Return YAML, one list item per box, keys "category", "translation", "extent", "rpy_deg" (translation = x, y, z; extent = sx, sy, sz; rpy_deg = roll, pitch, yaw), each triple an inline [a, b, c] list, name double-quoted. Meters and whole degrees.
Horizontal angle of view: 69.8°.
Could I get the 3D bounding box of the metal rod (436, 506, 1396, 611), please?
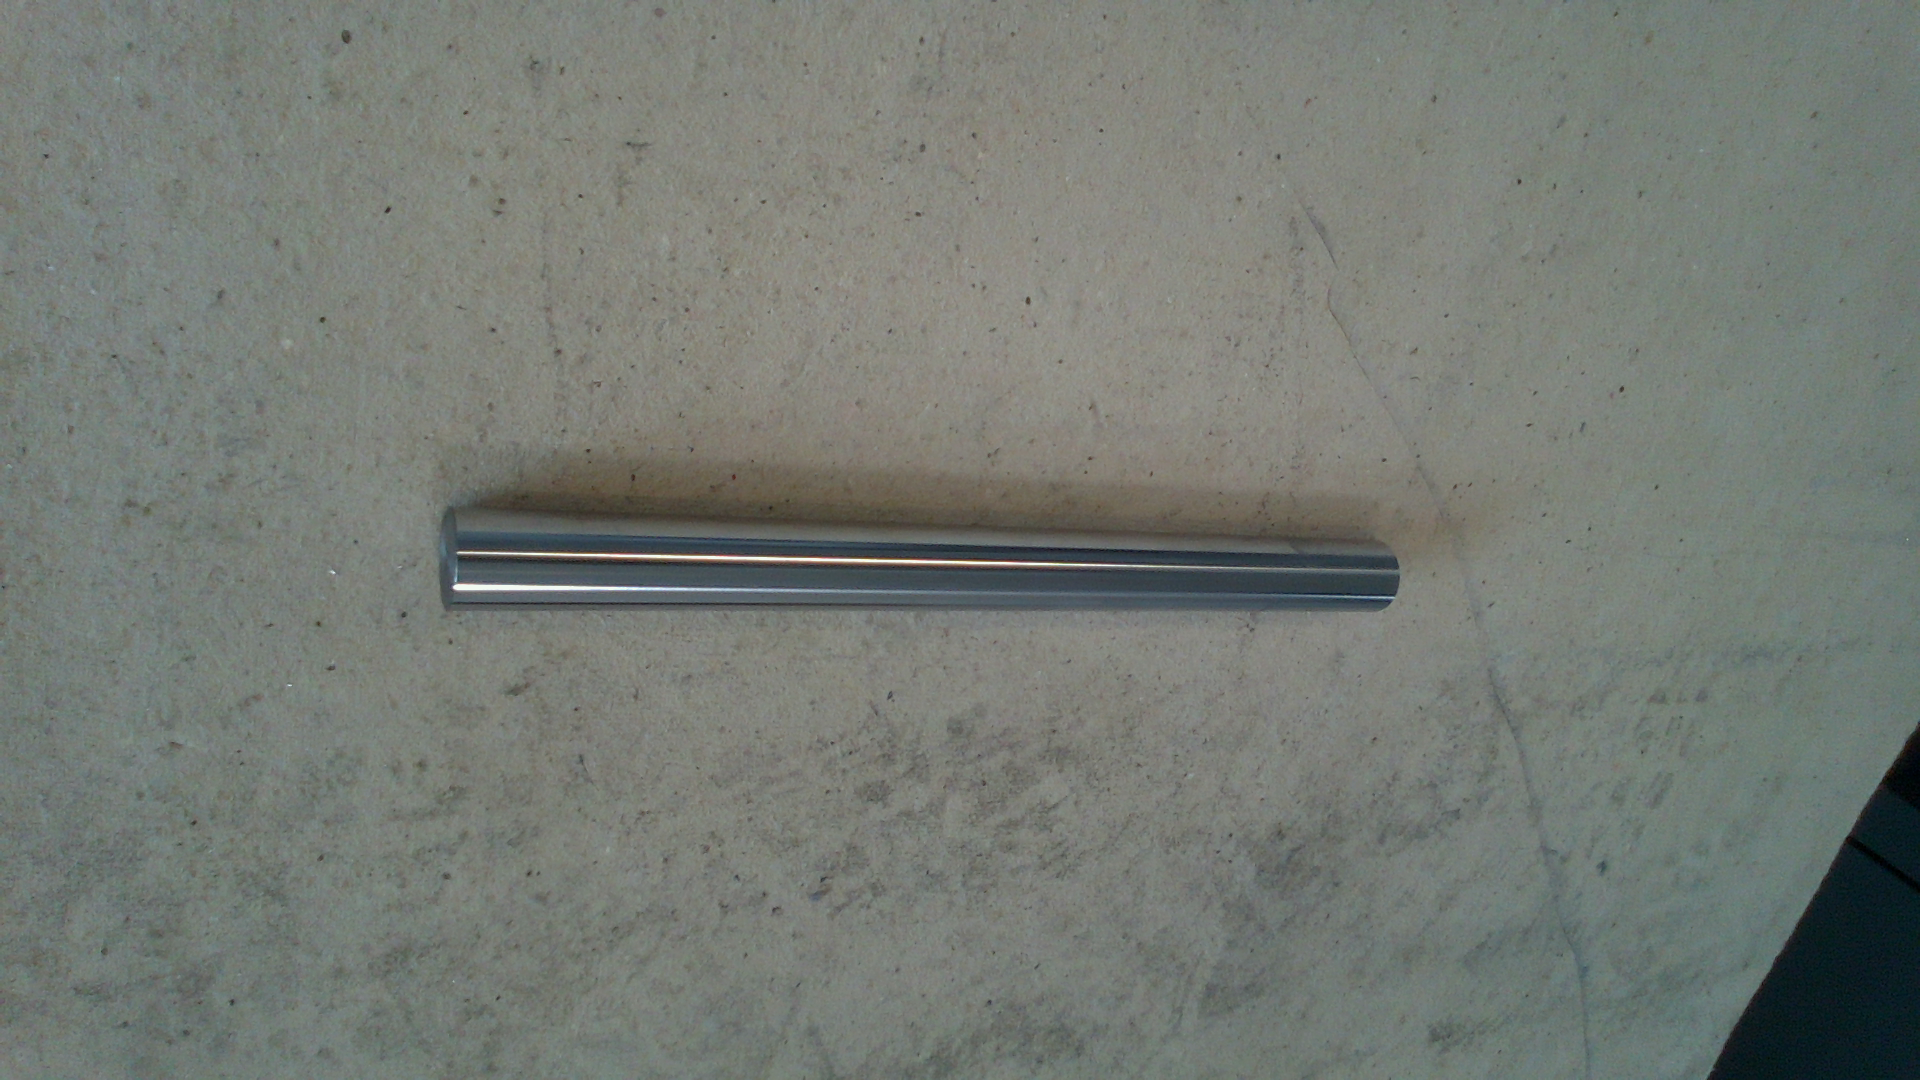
- category: "metal rod"
  translation: [0.009, 0.008, 0.399]
  extent: [0.301, 0.025, 0.025]
  rpy_deg: [2, 118, -29]
